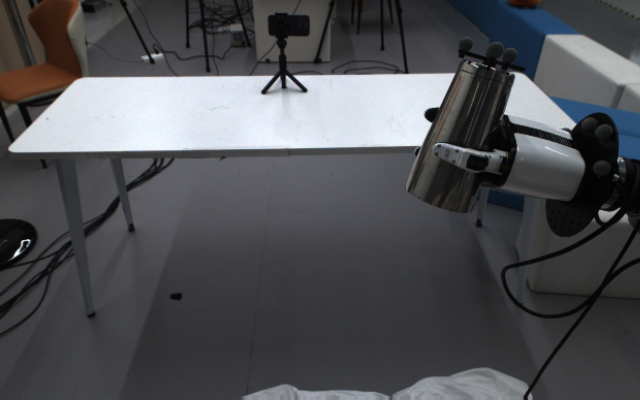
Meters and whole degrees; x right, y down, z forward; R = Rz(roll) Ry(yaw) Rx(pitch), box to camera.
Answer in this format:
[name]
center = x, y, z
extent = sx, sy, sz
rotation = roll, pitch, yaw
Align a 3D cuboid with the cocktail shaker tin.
[cocktail shaker tin]
center = 0.179, -0.081, 0.604
extent = 0.093, 0.170, 0.093
rotation = 15, 19, -5
